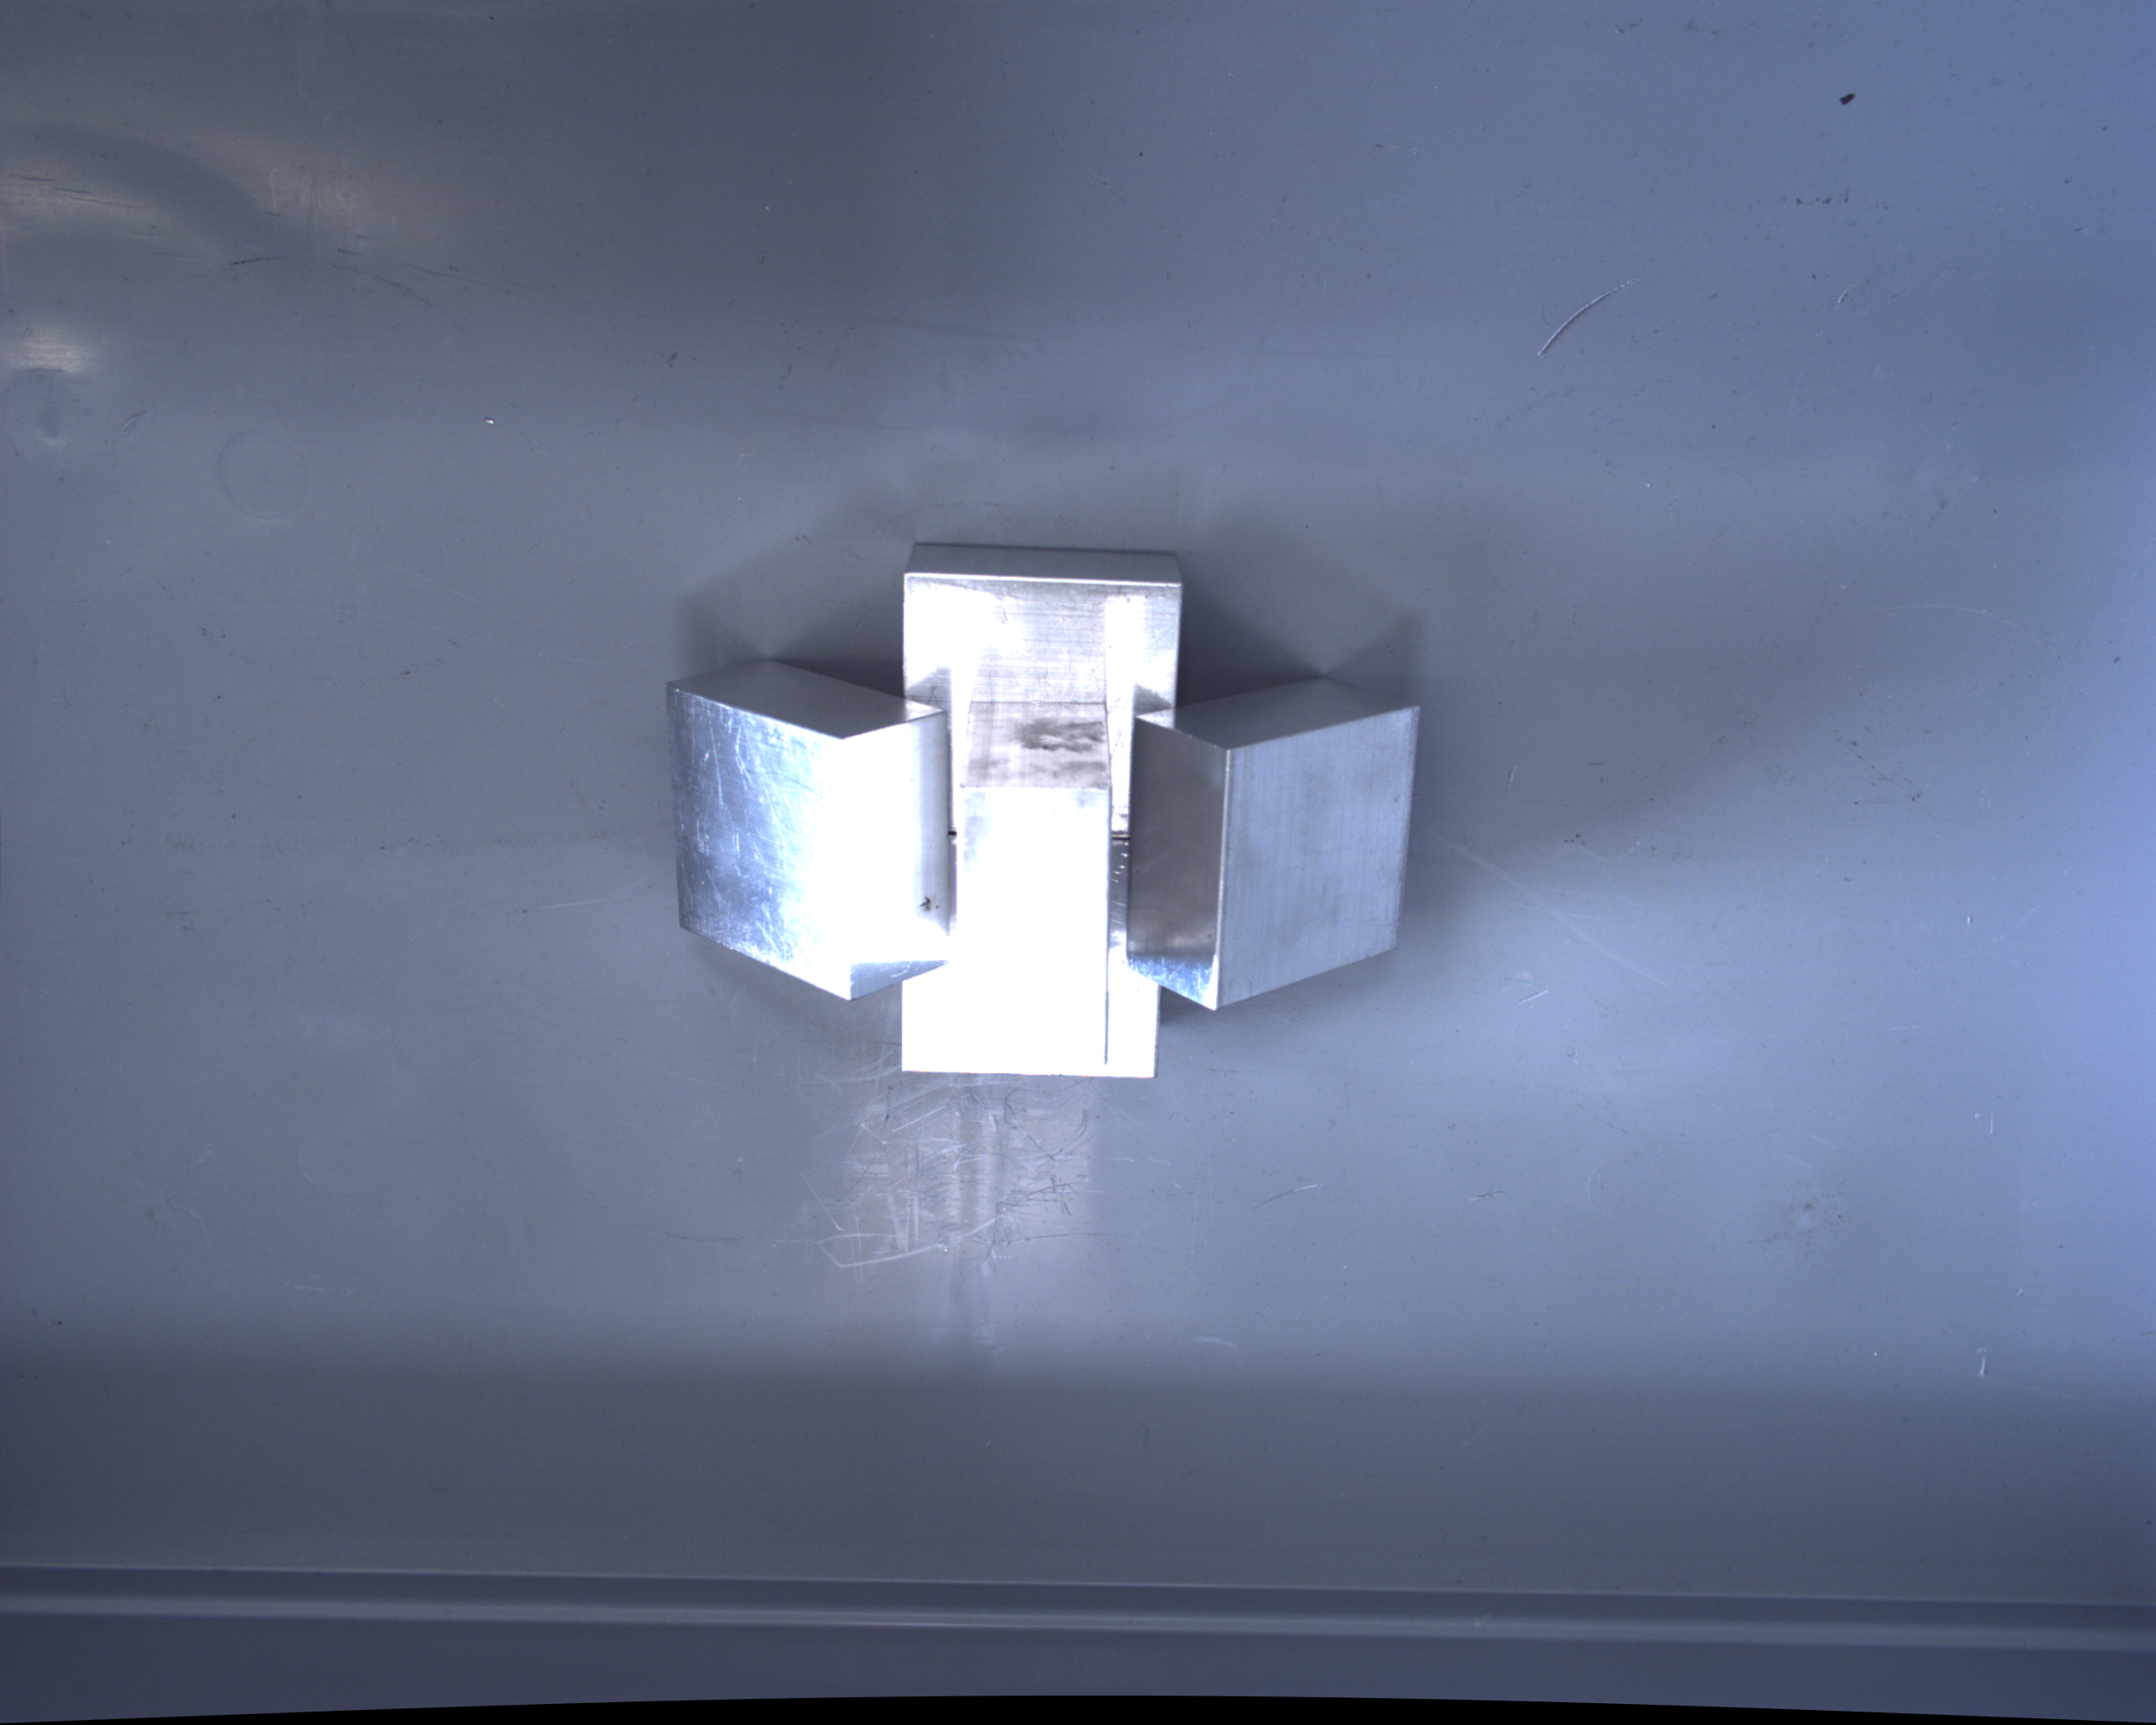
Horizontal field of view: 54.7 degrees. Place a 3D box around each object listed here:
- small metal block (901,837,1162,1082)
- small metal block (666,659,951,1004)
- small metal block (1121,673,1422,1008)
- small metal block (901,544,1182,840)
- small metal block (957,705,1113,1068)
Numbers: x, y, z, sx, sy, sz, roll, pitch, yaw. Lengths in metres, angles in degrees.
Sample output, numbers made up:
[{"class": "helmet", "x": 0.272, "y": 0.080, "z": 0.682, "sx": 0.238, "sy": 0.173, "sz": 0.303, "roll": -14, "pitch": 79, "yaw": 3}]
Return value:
[{"class": "small metal block", "x": -0.009, "y": 0.015, "z": 0.414, "sx": 0.050, "sy": 0.025, "sz": 0.050, "roll": 2, "pitch": 110, "yaw": -1}, {"class": "small metal block", "x": -0.051, "y": -0.007, "z": 0.392, "sx": 0.050, "sy": 0.025, "sz": 0.050, "roll": 19, "pitch": 117, "yaw": 39}, {"class": "small metal block", "x": 0.036, "y": -0.005, "z": 0.395, "sx": 0.050, "sy": 0.025, "sz": 0.050, "roll": -15, "pitch": 116, "yaw": -37}, {"class": "small metal block", "x": -0.008, "y": -0.032, "z": 0.396, "sx": 0.050, "sy": 0.025, "sz": 0.050, "roll": 2, "pitch": 110, "yaw": -2}, {"class": "small metal block", "x": -0.007, "y": 0.003, "z": 0.370, "sx": 0.025, "sy": 0.050, "sz": 0.050, "roll": 0, "pitch": 110, "yaw": -1}]
